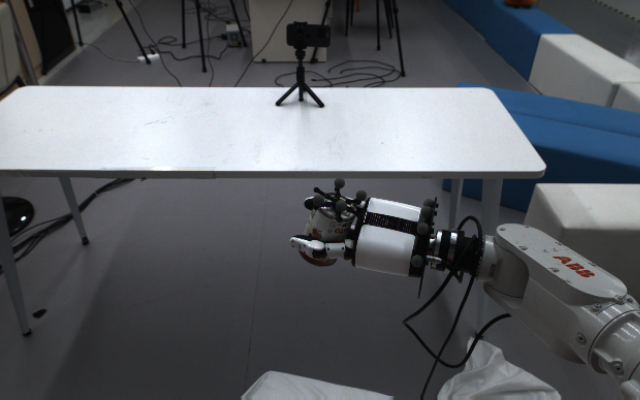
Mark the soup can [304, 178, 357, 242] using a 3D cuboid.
[{"bbox_3d":[0.012,0.047,0.769,0.067,0.101,0.067,14,35,-10],"label":"soup can"}]
